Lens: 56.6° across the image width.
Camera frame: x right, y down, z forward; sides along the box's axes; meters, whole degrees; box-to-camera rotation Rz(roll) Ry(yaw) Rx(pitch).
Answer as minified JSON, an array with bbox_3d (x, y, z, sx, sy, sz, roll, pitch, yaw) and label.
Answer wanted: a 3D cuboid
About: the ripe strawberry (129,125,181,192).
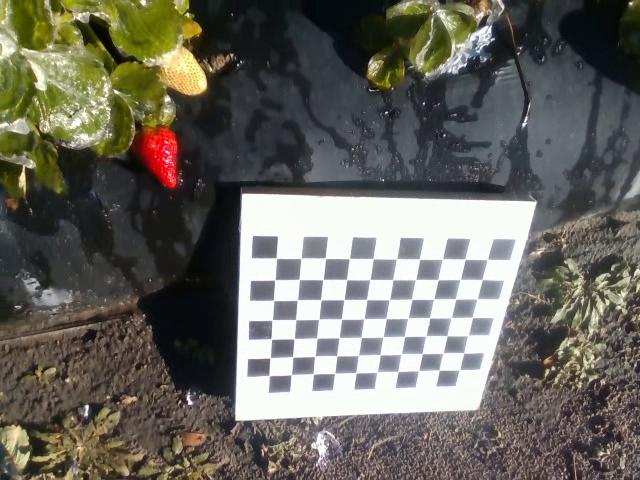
[{"bbox_3d":[-0.133,-0.064,0.493,0.041,0.052,0.040,-16,22,-4],"label":"ripe strawberry"}]
